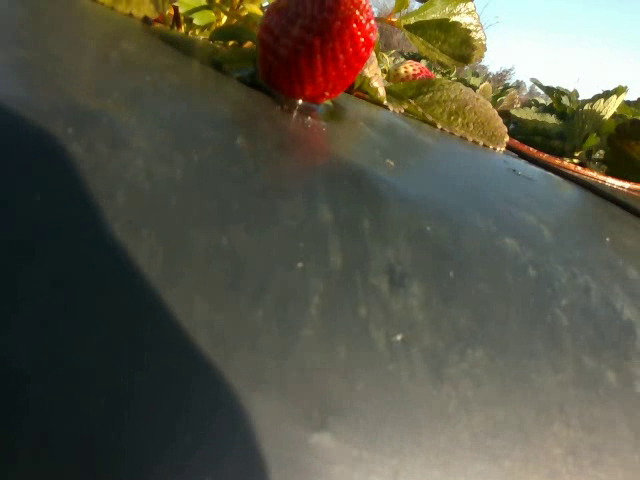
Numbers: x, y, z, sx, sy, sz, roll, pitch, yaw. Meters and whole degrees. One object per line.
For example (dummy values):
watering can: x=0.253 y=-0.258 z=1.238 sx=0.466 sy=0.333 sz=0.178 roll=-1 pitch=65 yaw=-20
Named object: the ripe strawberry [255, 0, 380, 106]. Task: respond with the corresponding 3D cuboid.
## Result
ripe strawberry: x=0.000 y=-0.044 z=0.127 sx=0.028 sy=0.031 sz=0.041 roll=-14 pitch=0 yaw=-26
